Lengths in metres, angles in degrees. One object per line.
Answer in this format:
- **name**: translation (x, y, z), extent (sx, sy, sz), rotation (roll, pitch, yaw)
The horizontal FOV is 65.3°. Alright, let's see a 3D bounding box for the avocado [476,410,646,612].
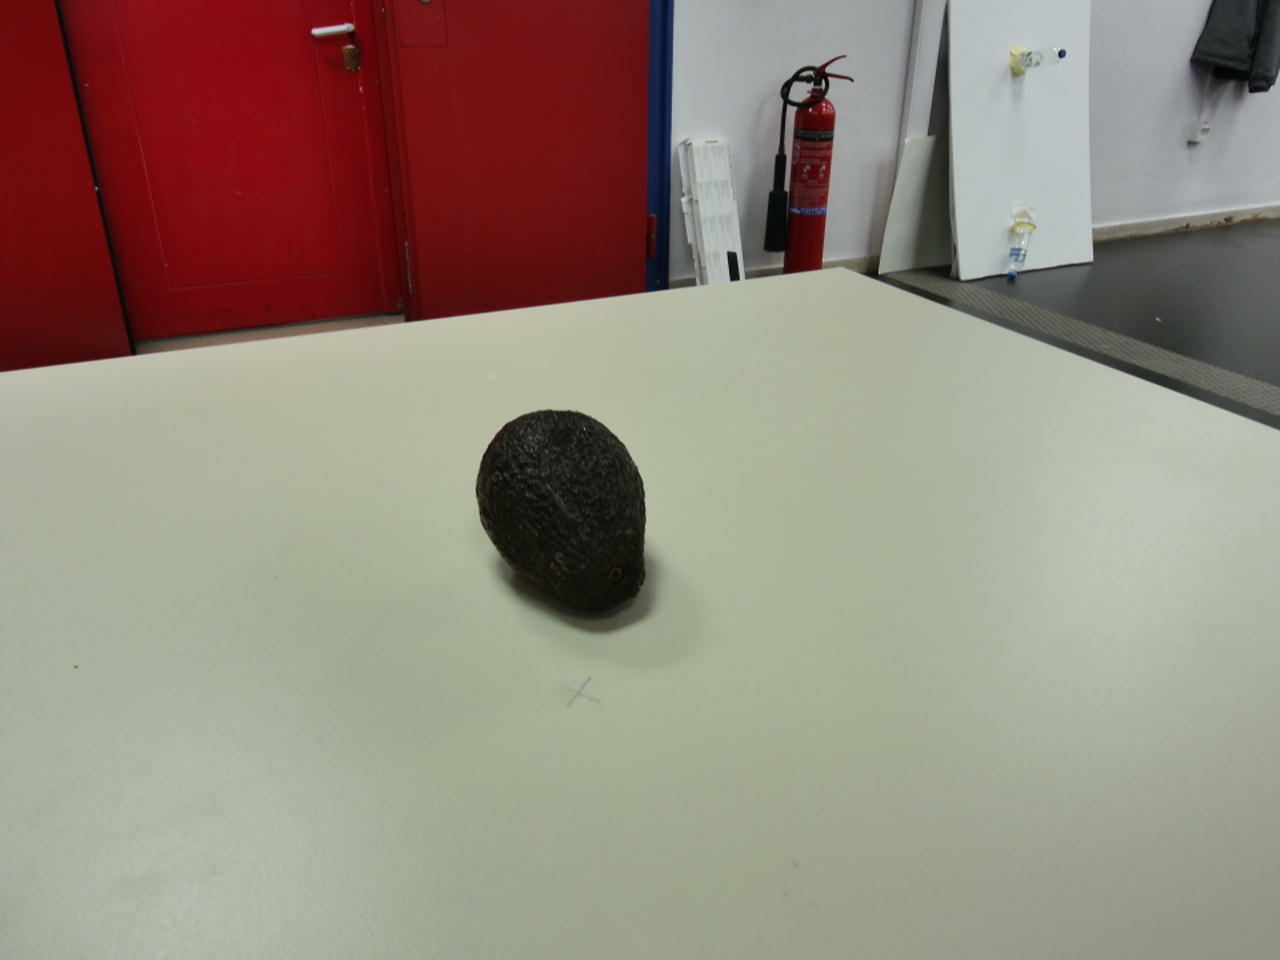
- **avocado**: translation (-0.033, 0.009, 0.409), extent (0.070, 0.069, 0.090), rotation (-1, 24, -1)
